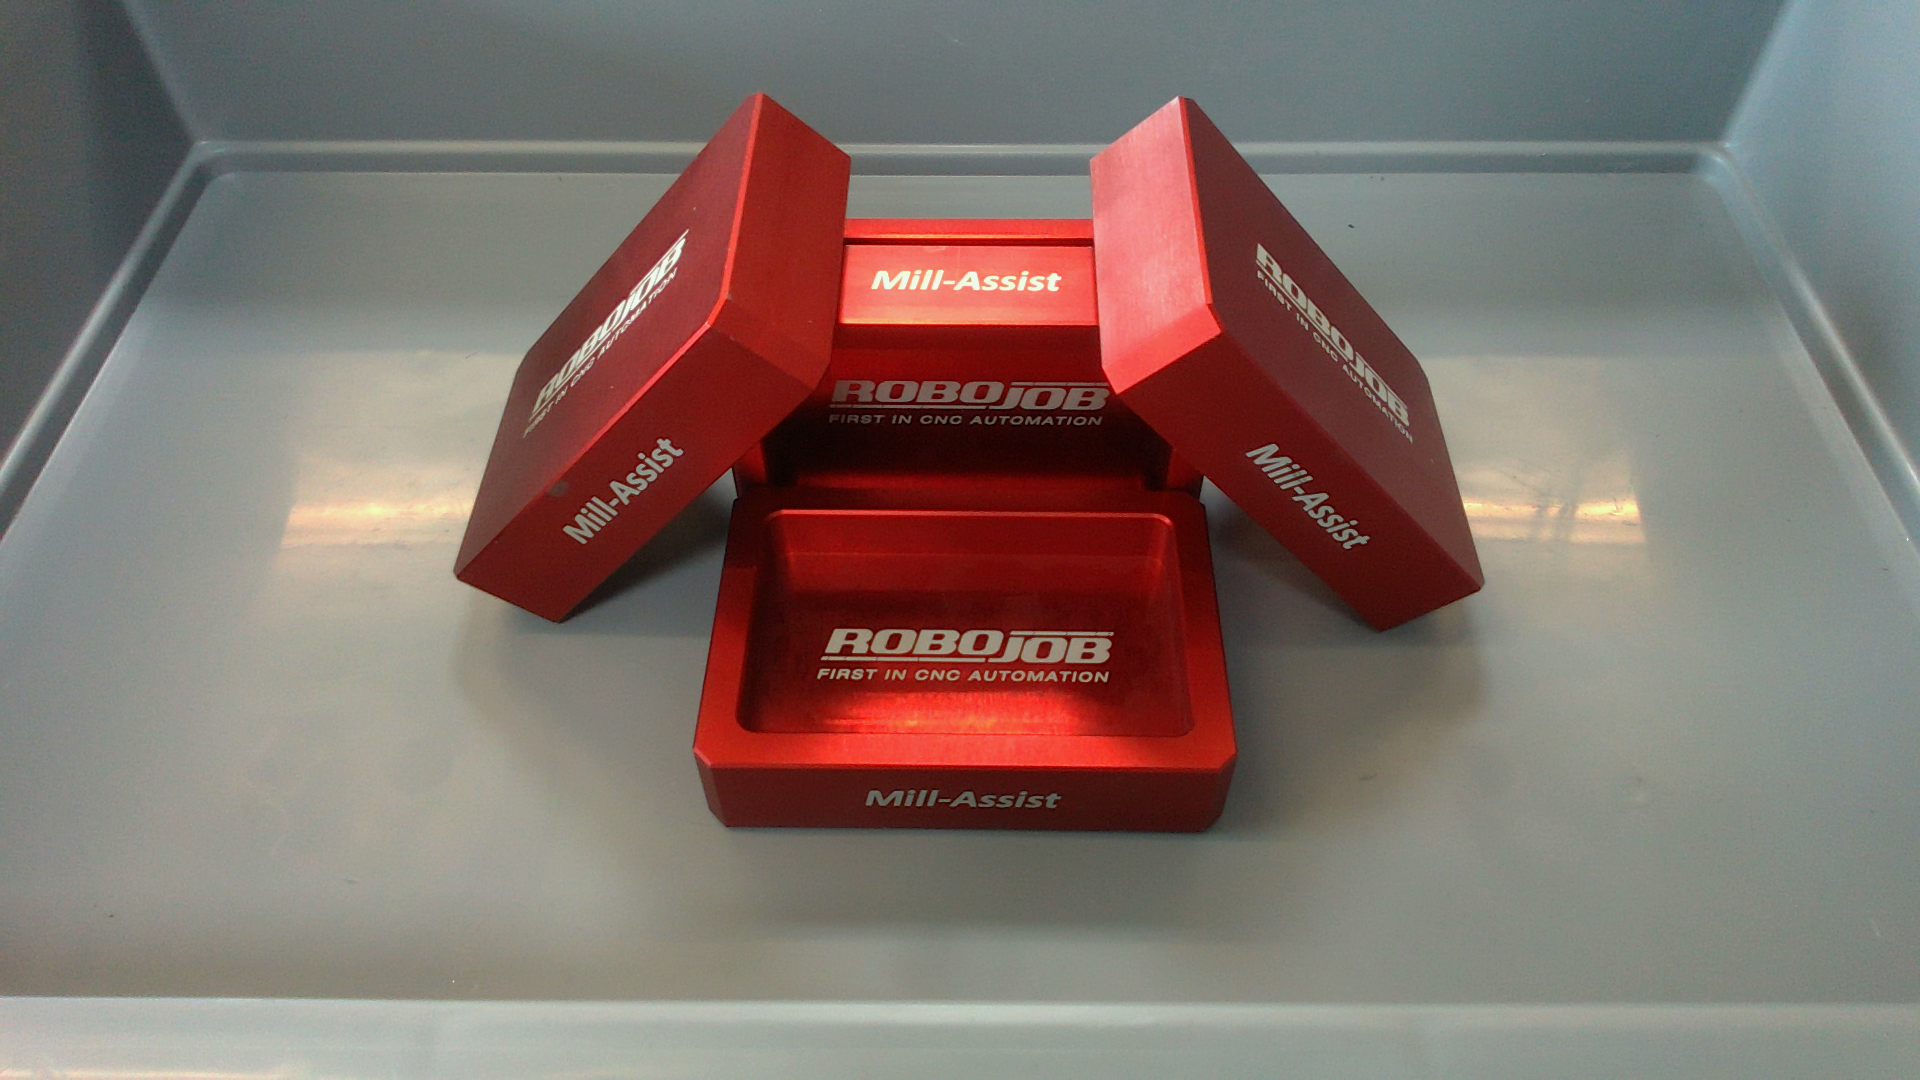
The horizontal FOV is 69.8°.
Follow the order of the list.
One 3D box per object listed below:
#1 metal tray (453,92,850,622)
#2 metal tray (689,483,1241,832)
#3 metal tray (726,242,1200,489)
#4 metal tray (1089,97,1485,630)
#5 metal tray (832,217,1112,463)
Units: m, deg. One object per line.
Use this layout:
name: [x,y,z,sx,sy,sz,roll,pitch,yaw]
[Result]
metal tray: [-0.083,-0.046,0.369,0.030,0.130,0.090,30,41,-30]
metal tray: [0.002,0.028,0.360,0.130,0.030,0.090,1,50,0]
metal tray: [0.001,-0.036,0.378,0.130,0.090,0.030,1,50,0]
metal tray: [0.088,-0.045,0.368,0.030,0.130,0.090,-30,41,31]
metal tray: [0.005,-0.063,0.440,0.130,0.030,0.090,0,50,-1]
